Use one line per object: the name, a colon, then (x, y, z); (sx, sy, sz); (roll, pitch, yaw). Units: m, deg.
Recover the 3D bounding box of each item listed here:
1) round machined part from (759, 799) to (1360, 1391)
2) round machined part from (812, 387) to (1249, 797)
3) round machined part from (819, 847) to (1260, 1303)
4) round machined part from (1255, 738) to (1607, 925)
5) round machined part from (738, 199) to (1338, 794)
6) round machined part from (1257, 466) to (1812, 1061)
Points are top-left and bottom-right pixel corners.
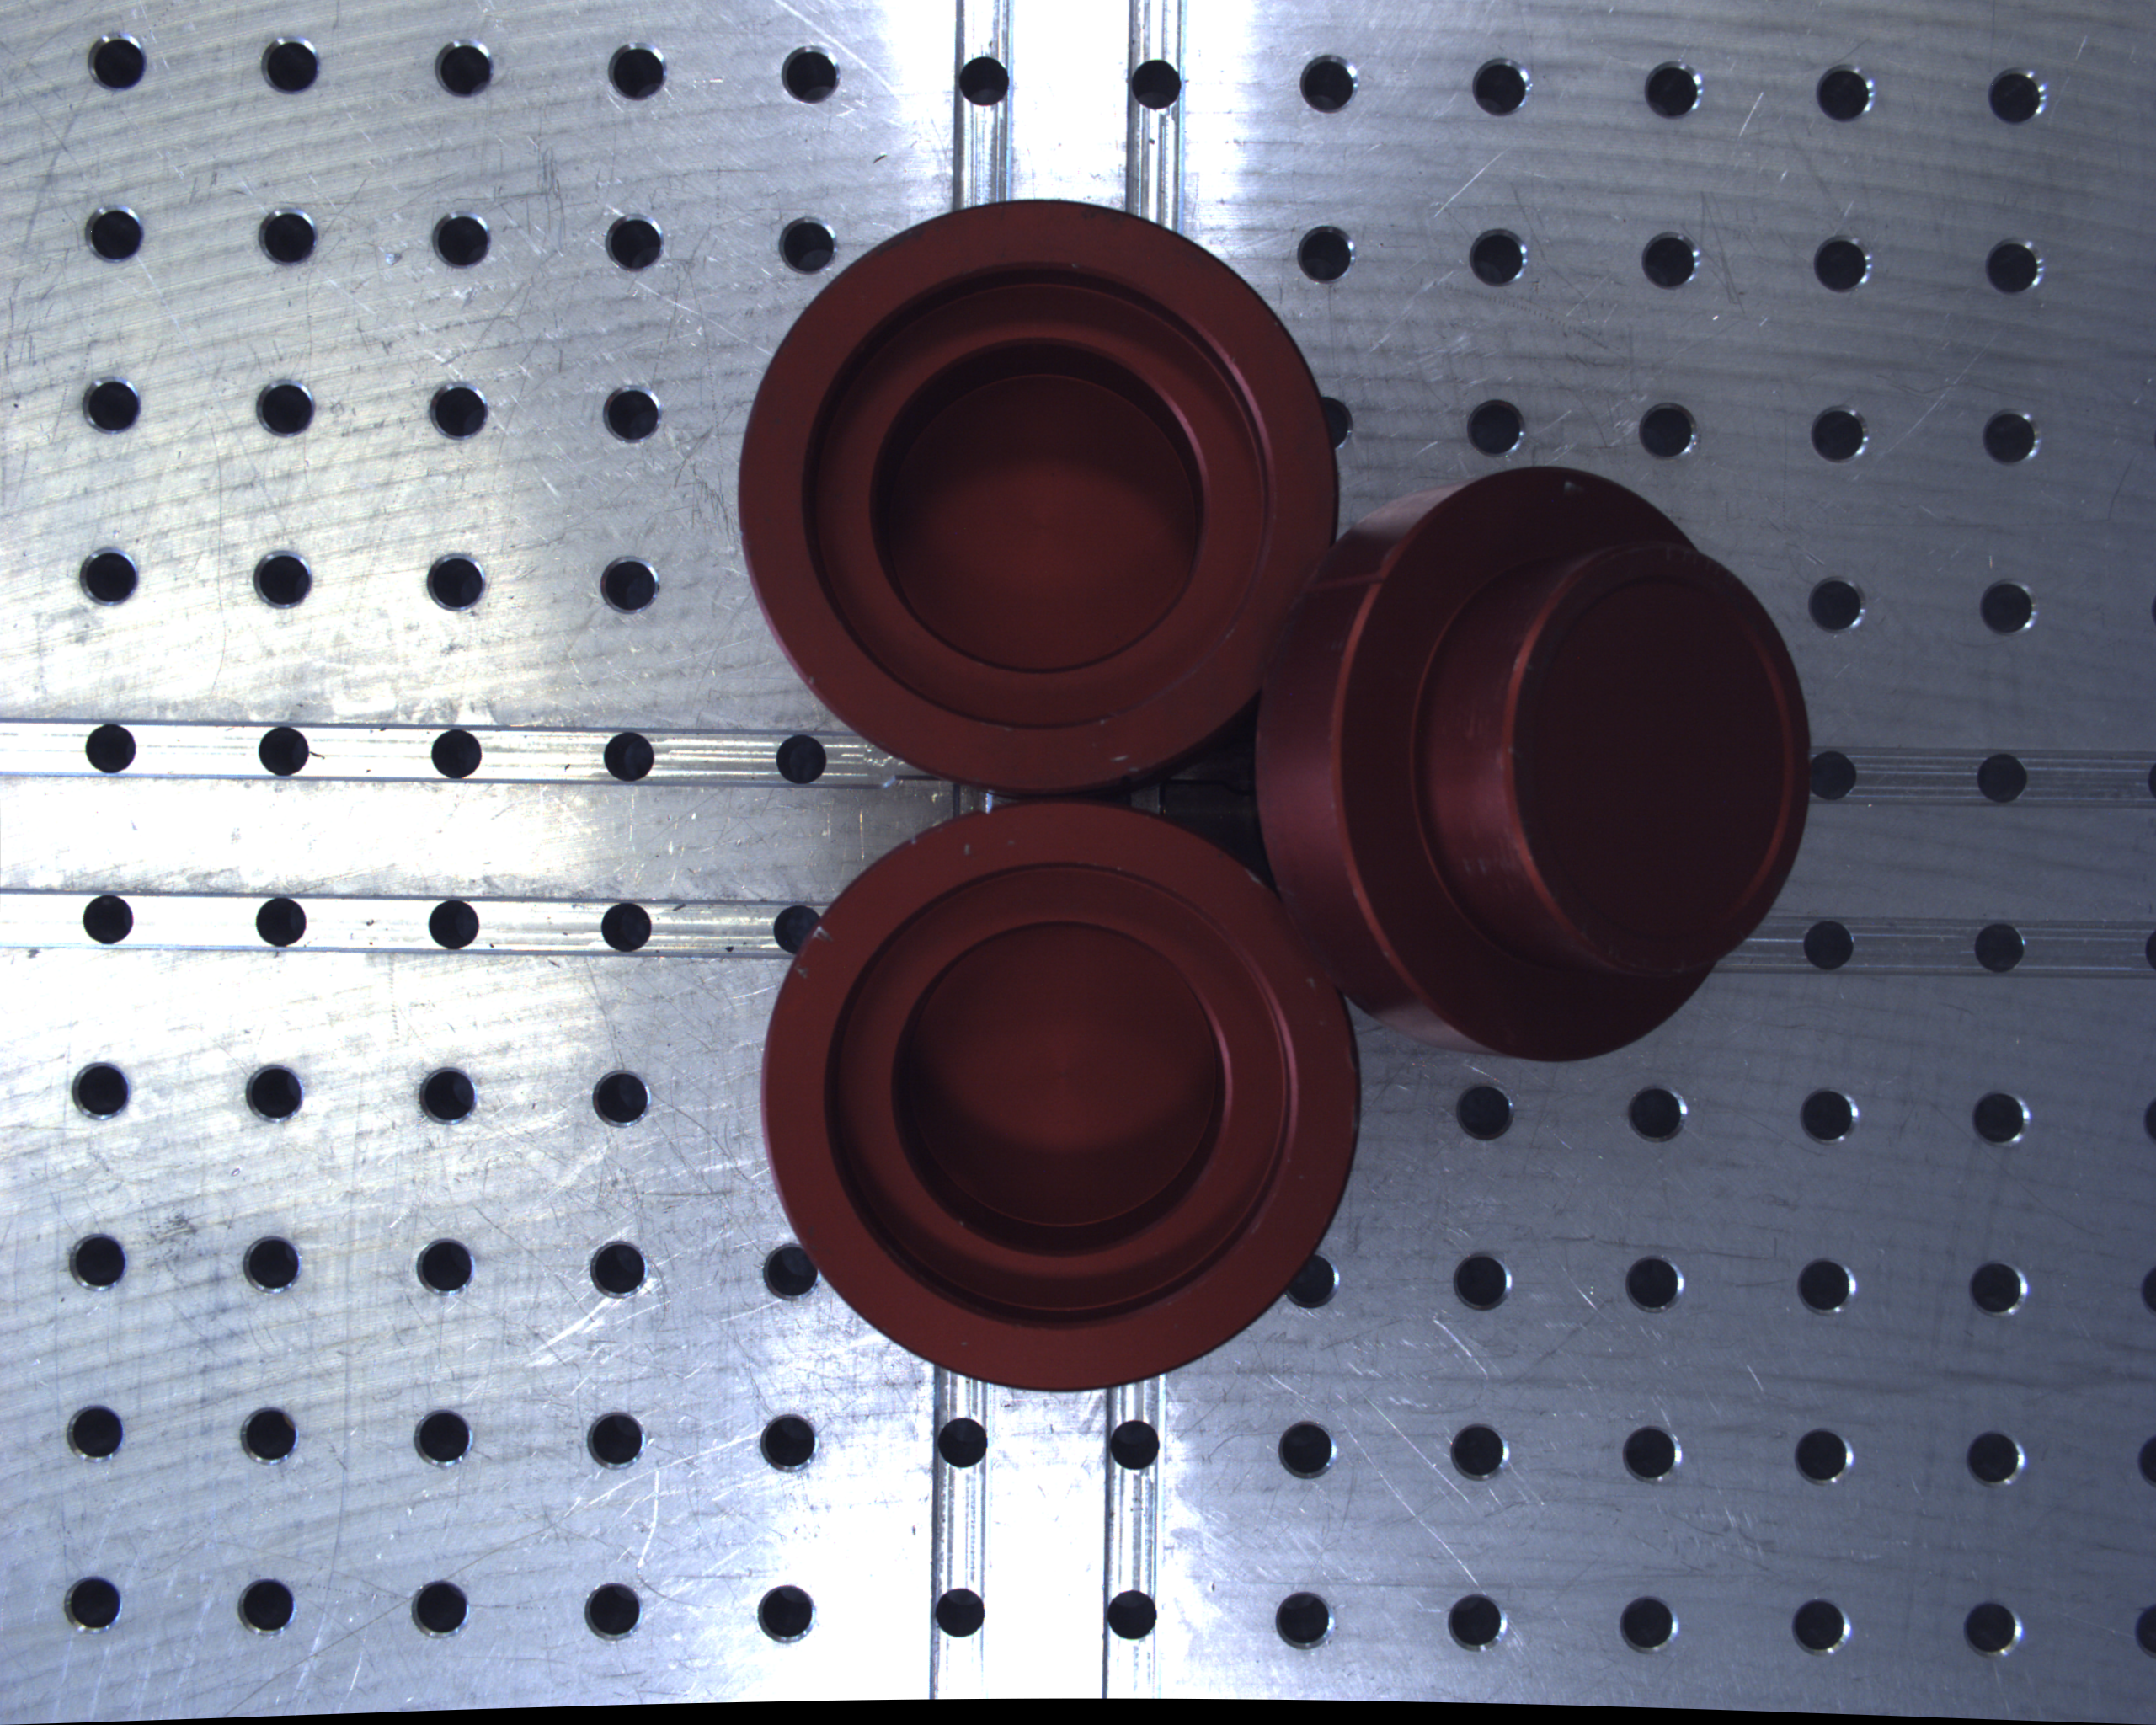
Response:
round machined part: (-0.003, 0.038, 0.362); (0.099, 0.042, 0.097); (0, 90, 0)
round machined part: (-0.005, -0.061, 0.406); (0.099, 0.042, 0.097); (0, 90, 0)
round machined part: (-0.004, 0.038, 0.405); (0.099, 0.042, 0.097); (0, 90, 0)
round machined part: (0.085, -0.017, 0.406); (0.099, 0.042, 0.097); (0, 90, 0)
round machined part: (-0.006, -0.060, 0.362); (0.099, 0.042, 0.097); (0, 90, 0)
round machined part: (0.081, -0.016, 0.342); (0.099, 0.042, 0.097); (0, 89, -32)
